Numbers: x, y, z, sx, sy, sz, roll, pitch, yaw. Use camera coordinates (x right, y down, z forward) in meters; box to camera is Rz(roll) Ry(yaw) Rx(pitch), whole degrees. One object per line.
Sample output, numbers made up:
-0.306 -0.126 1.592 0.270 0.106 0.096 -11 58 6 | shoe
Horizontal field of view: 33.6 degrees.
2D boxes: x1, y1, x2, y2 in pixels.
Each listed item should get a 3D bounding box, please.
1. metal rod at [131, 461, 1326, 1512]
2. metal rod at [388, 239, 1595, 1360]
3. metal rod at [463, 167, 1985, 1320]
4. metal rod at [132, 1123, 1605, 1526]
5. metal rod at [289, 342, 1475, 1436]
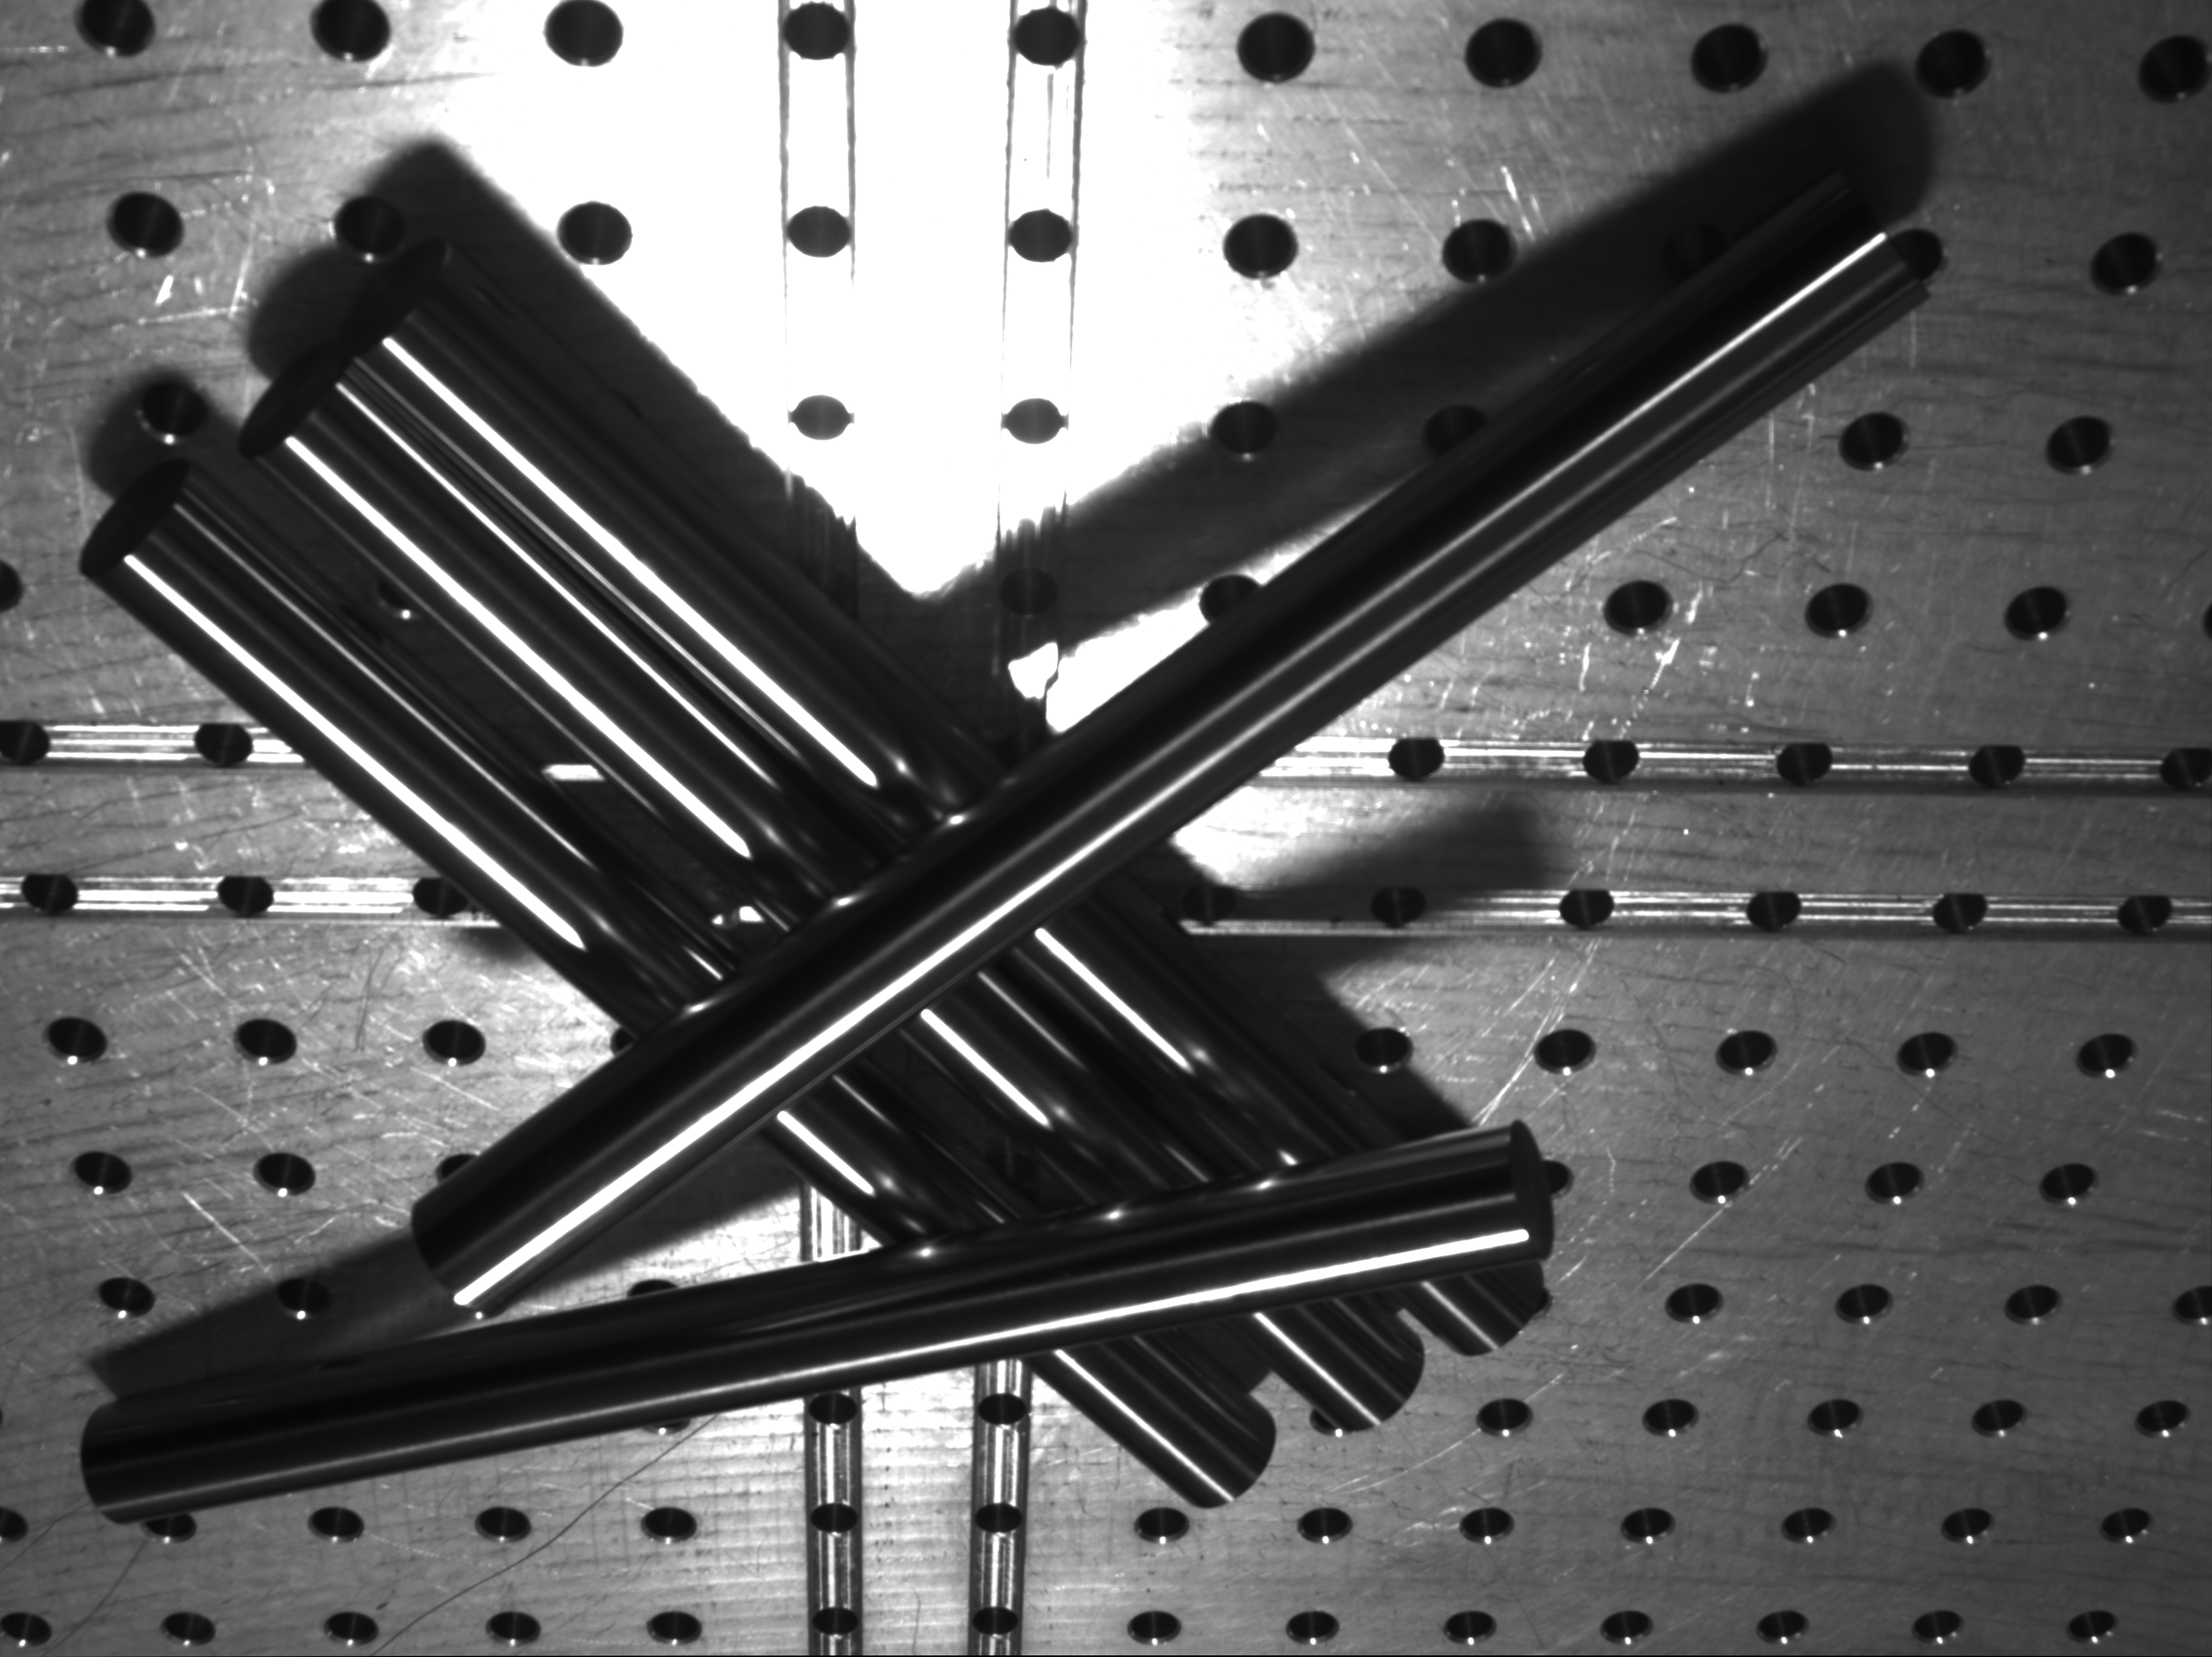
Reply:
-0.057 0.039 0.672 0.025 0.025 0.301 -31 124 22 | metal rod
-0.008 0.006 0.646 0.025 0.025 0.301 -32 124 23 | metal rod
0.012 -0.008 0.608 0.300 0.025 0.025 -36 123 15 | metal rod
-0.053 0.097 0.693 0.300 0.025 0.025 -13 130 20 | metal rod
-0.028 0.022 0.658 0.025 0.025 0.301 -31 124 22 | metal rod
